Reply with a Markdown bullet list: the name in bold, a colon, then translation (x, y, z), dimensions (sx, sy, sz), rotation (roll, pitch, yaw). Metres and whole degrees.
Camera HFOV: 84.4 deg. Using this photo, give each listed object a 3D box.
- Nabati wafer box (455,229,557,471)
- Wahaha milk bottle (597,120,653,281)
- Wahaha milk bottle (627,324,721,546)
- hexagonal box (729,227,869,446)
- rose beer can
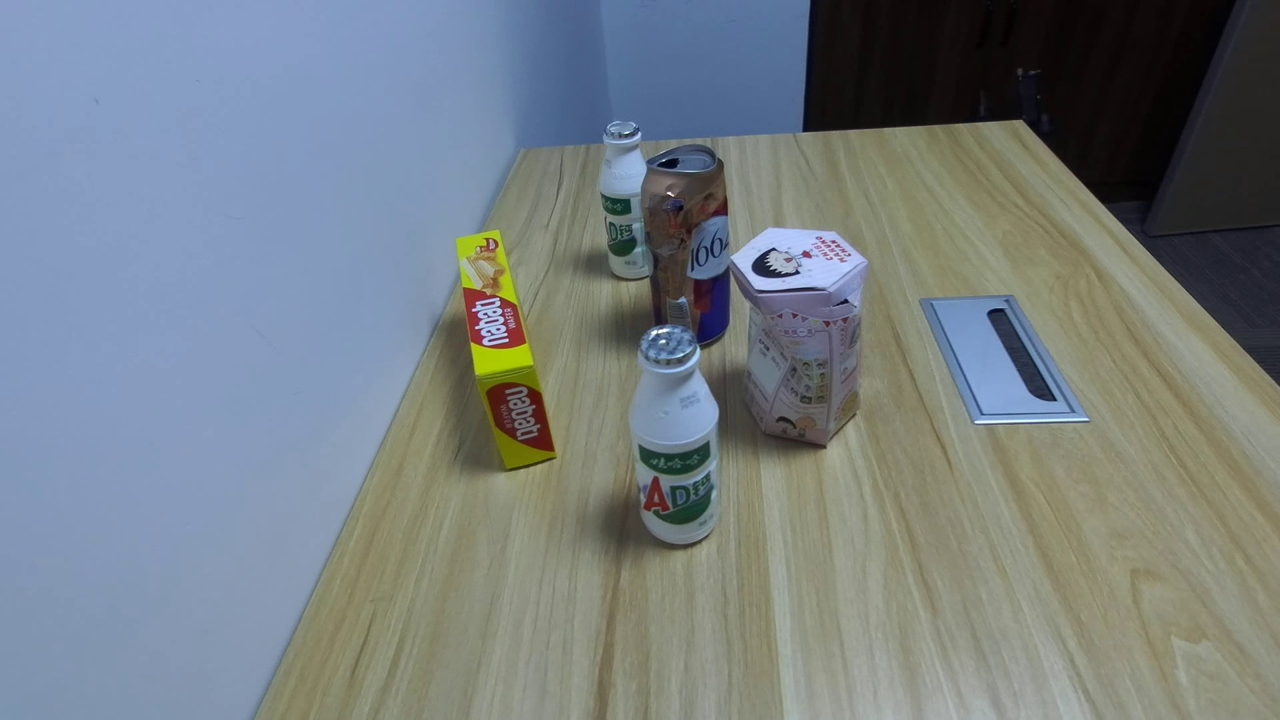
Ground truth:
- **Nabati wafer box**: translation (-0.110, -0.017, 0.565), dimensions (0.042, 0.093, 0.202), rotation (-14, 40, -9)
- **Wahaha milk bottle**: translation (-0.010, -0.150, 0.671), dimensions (0.056, 0.148, 0.056), rotation (-3, 38, 3)
- **Wahaha milk bottle**: translation (0.021, 0.047, 0.422), dimensions (0.053, 0.148, 0.053), rotation (-4, 40, 4)
- **hexagonal box**: translation (0.110, -0.014, 0.496), dimensions (0.090, 0.135, 0.091), rotation (10, 42, 24)
- **rose beer can**: translation (0.040, -0.088, 0.578), dimensions (0.068, 0.162, 0.073), rotation (-2, 37, 6)
